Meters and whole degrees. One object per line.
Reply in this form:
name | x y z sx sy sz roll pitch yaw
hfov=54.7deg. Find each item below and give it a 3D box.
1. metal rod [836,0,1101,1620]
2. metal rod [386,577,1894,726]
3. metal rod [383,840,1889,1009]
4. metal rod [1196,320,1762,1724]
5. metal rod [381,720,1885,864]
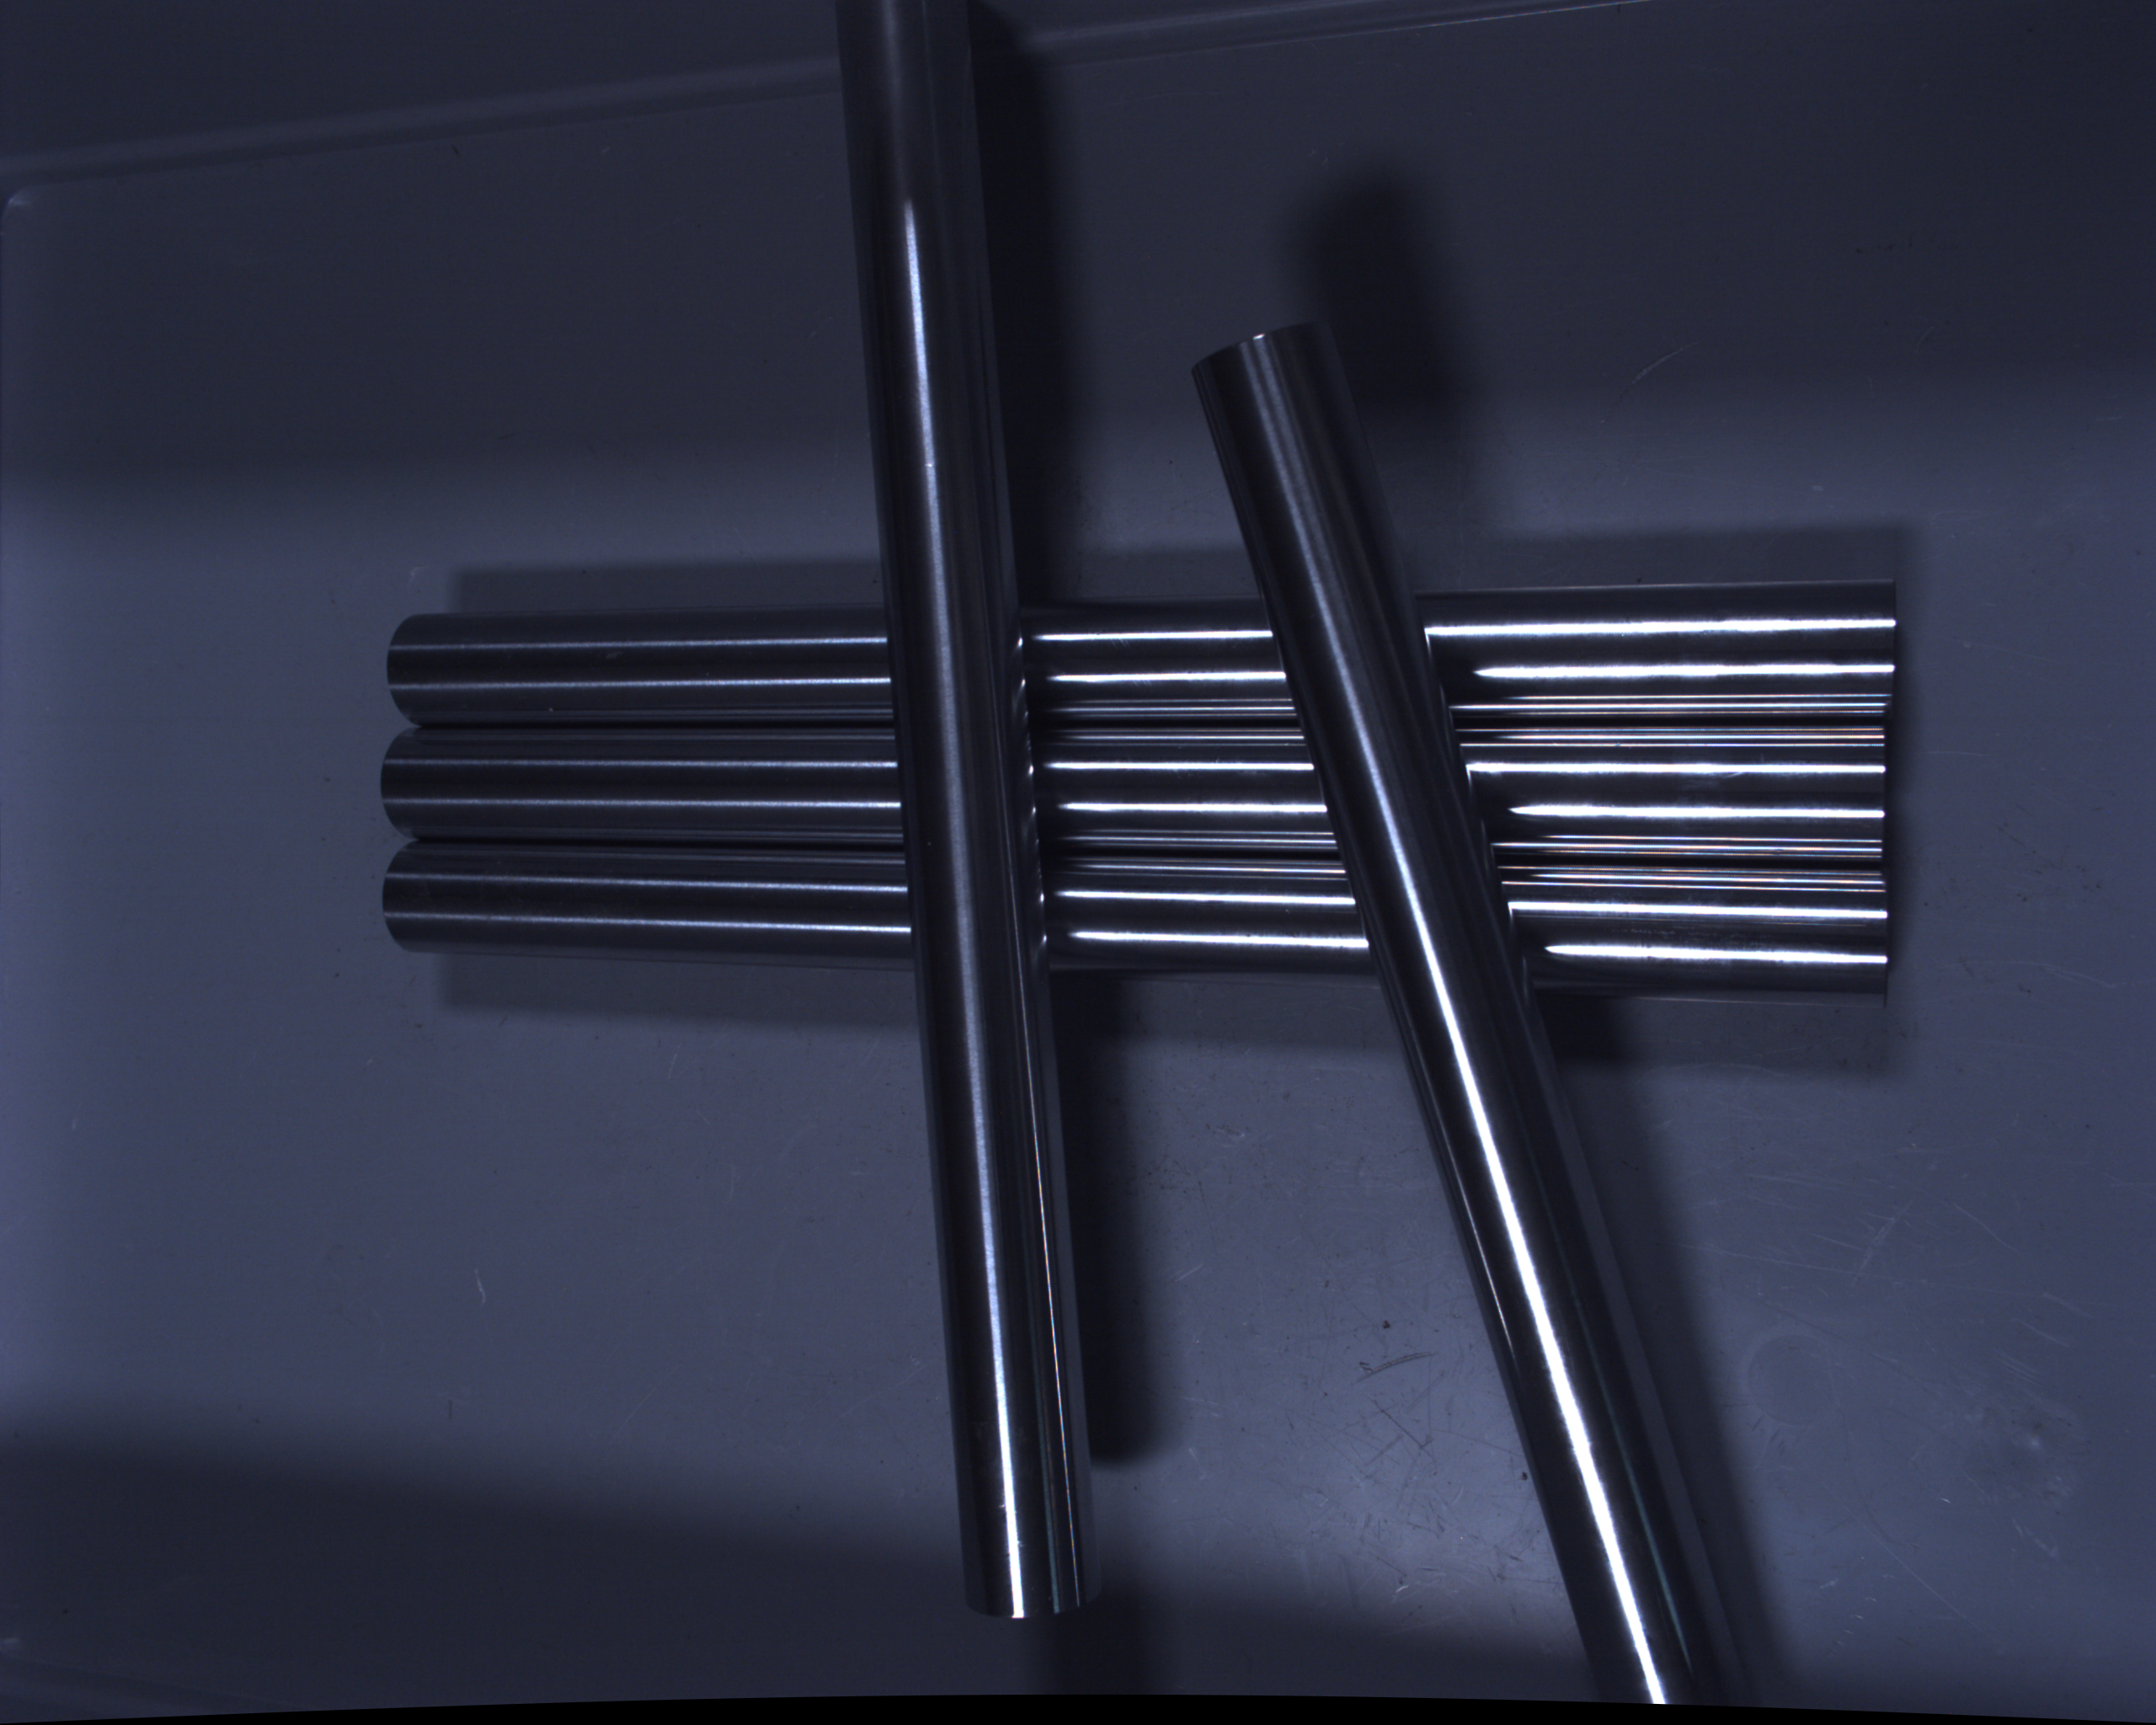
metal rod | -0.021 -0.013 0.389 0.025 0.025 0.298 -5 88 19
metal rod | -0.002 -0.040 0.409 0.301 0.025 0.025 1 91 19
metal rod | -0.003 0.010 0.409 0.301 0.025 0.025 1 91 19
metal rod | 0.076 0.054 0.360 0.025 0.025 0.298 -17 91 19
metal rod | -0.003 -0.015 0.409 0.301 0.025 0.025 1 91 19
